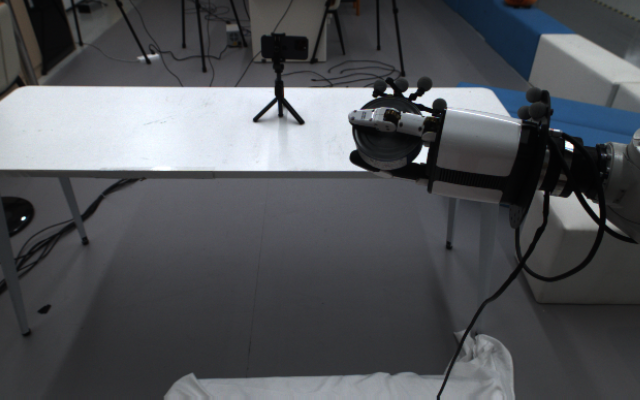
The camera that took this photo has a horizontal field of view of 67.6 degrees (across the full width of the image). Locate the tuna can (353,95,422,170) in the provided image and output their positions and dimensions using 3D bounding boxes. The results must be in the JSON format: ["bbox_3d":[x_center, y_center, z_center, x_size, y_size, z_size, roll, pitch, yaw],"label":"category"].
[{"bbox_3d":[0.085,-0.083,0.589,0.085,0.034,0.085,-4,67,10],"label":"tuna can"}]
